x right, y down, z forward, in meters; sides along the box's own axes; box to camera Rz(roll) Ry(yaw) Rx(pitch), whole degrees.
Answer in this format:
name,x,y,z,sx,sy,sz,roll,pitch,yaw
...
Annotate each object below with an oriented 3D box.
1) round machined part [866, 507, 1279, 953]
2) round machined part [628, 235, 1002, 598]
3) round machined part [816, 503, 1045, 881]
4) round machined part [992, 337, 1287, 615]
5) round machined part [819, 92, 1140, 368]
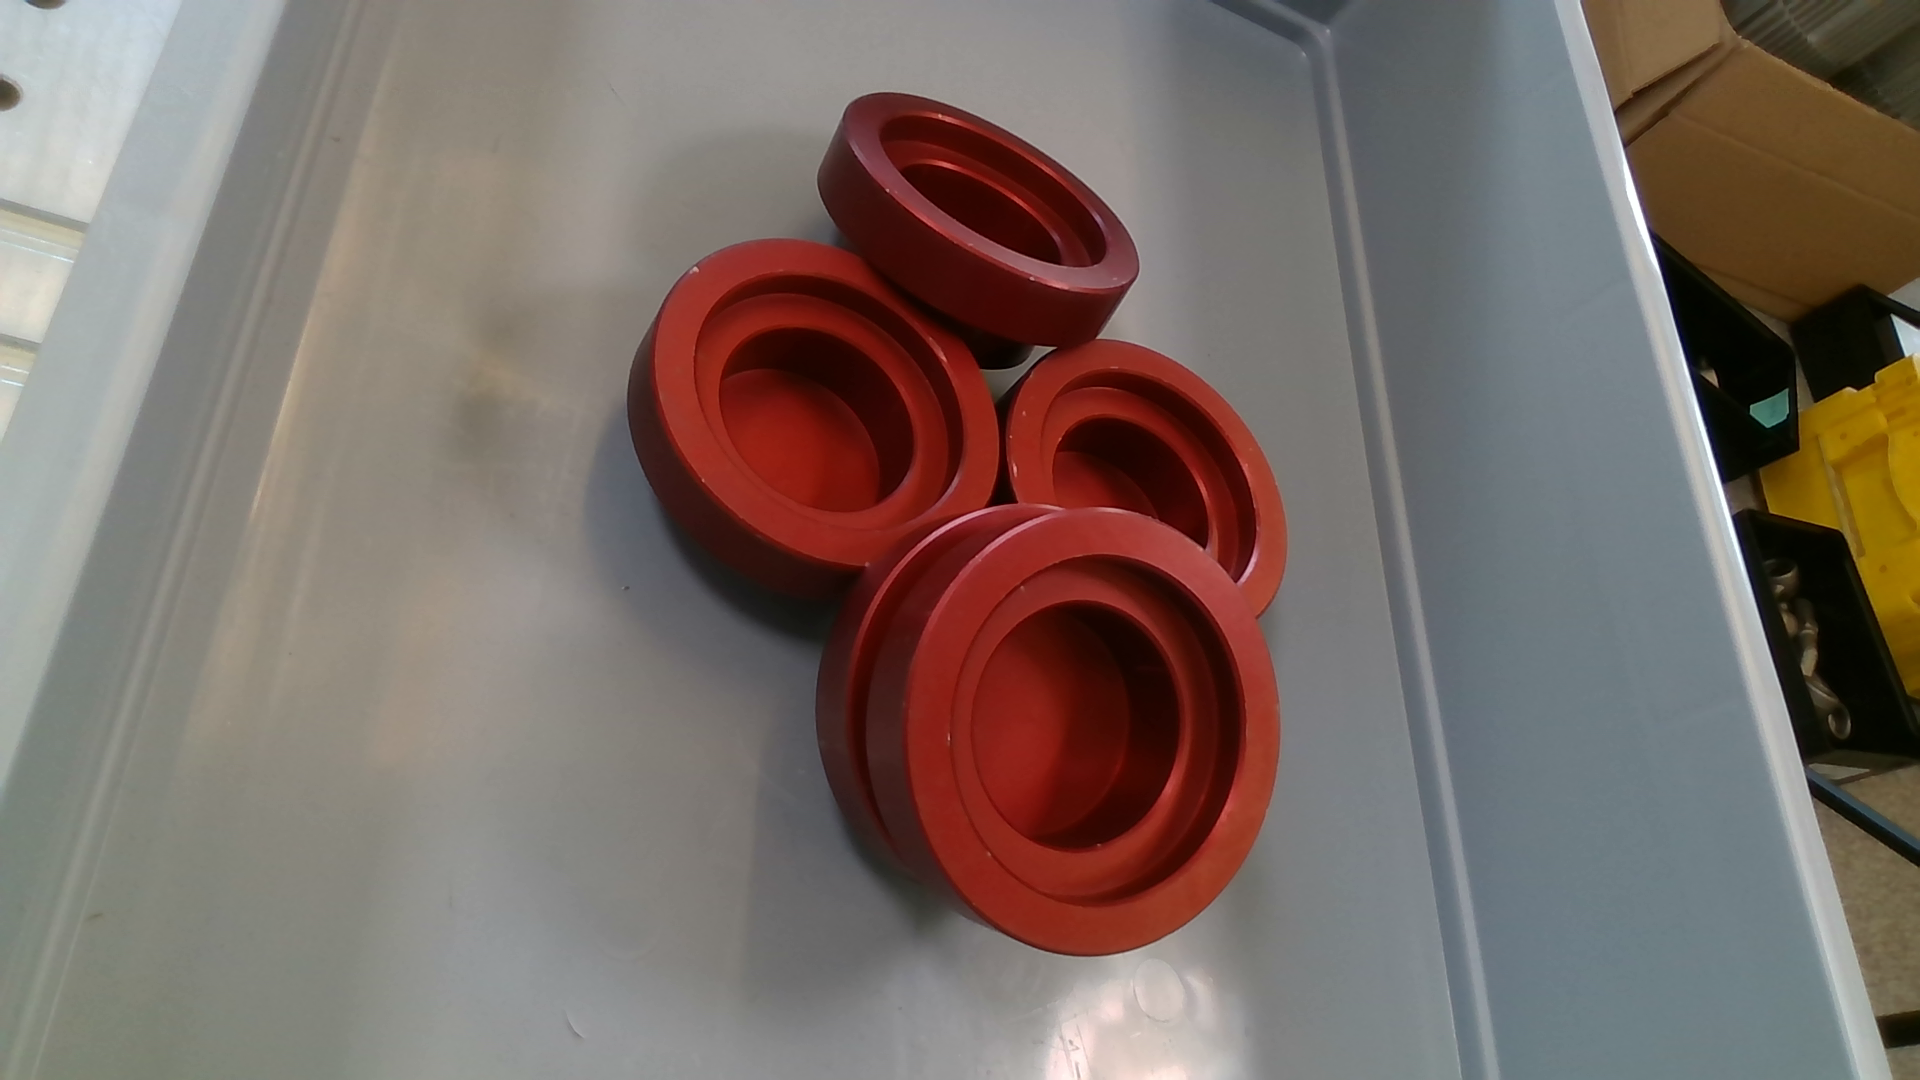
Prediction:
name,x,y,z,sx,sy,sz,roll,pitch,yaw
round machined part,0.023,0.043,0.322,0.098,0.042,0.098,2,86,-26
round machined part,-0.041,-0.029,0.370,0.098,0.042,0.098,14,59,-25
round machined part,0.009,0.041,0.351,0.098,0.042,0.098,2,86,-27
round machined part,0.046,-0.008,0.413,0.098,0.042,0.098,14,59,-25
round machined part,0.002,-0.090,0.417,0.098,0.042,0.098,22,35,-16
